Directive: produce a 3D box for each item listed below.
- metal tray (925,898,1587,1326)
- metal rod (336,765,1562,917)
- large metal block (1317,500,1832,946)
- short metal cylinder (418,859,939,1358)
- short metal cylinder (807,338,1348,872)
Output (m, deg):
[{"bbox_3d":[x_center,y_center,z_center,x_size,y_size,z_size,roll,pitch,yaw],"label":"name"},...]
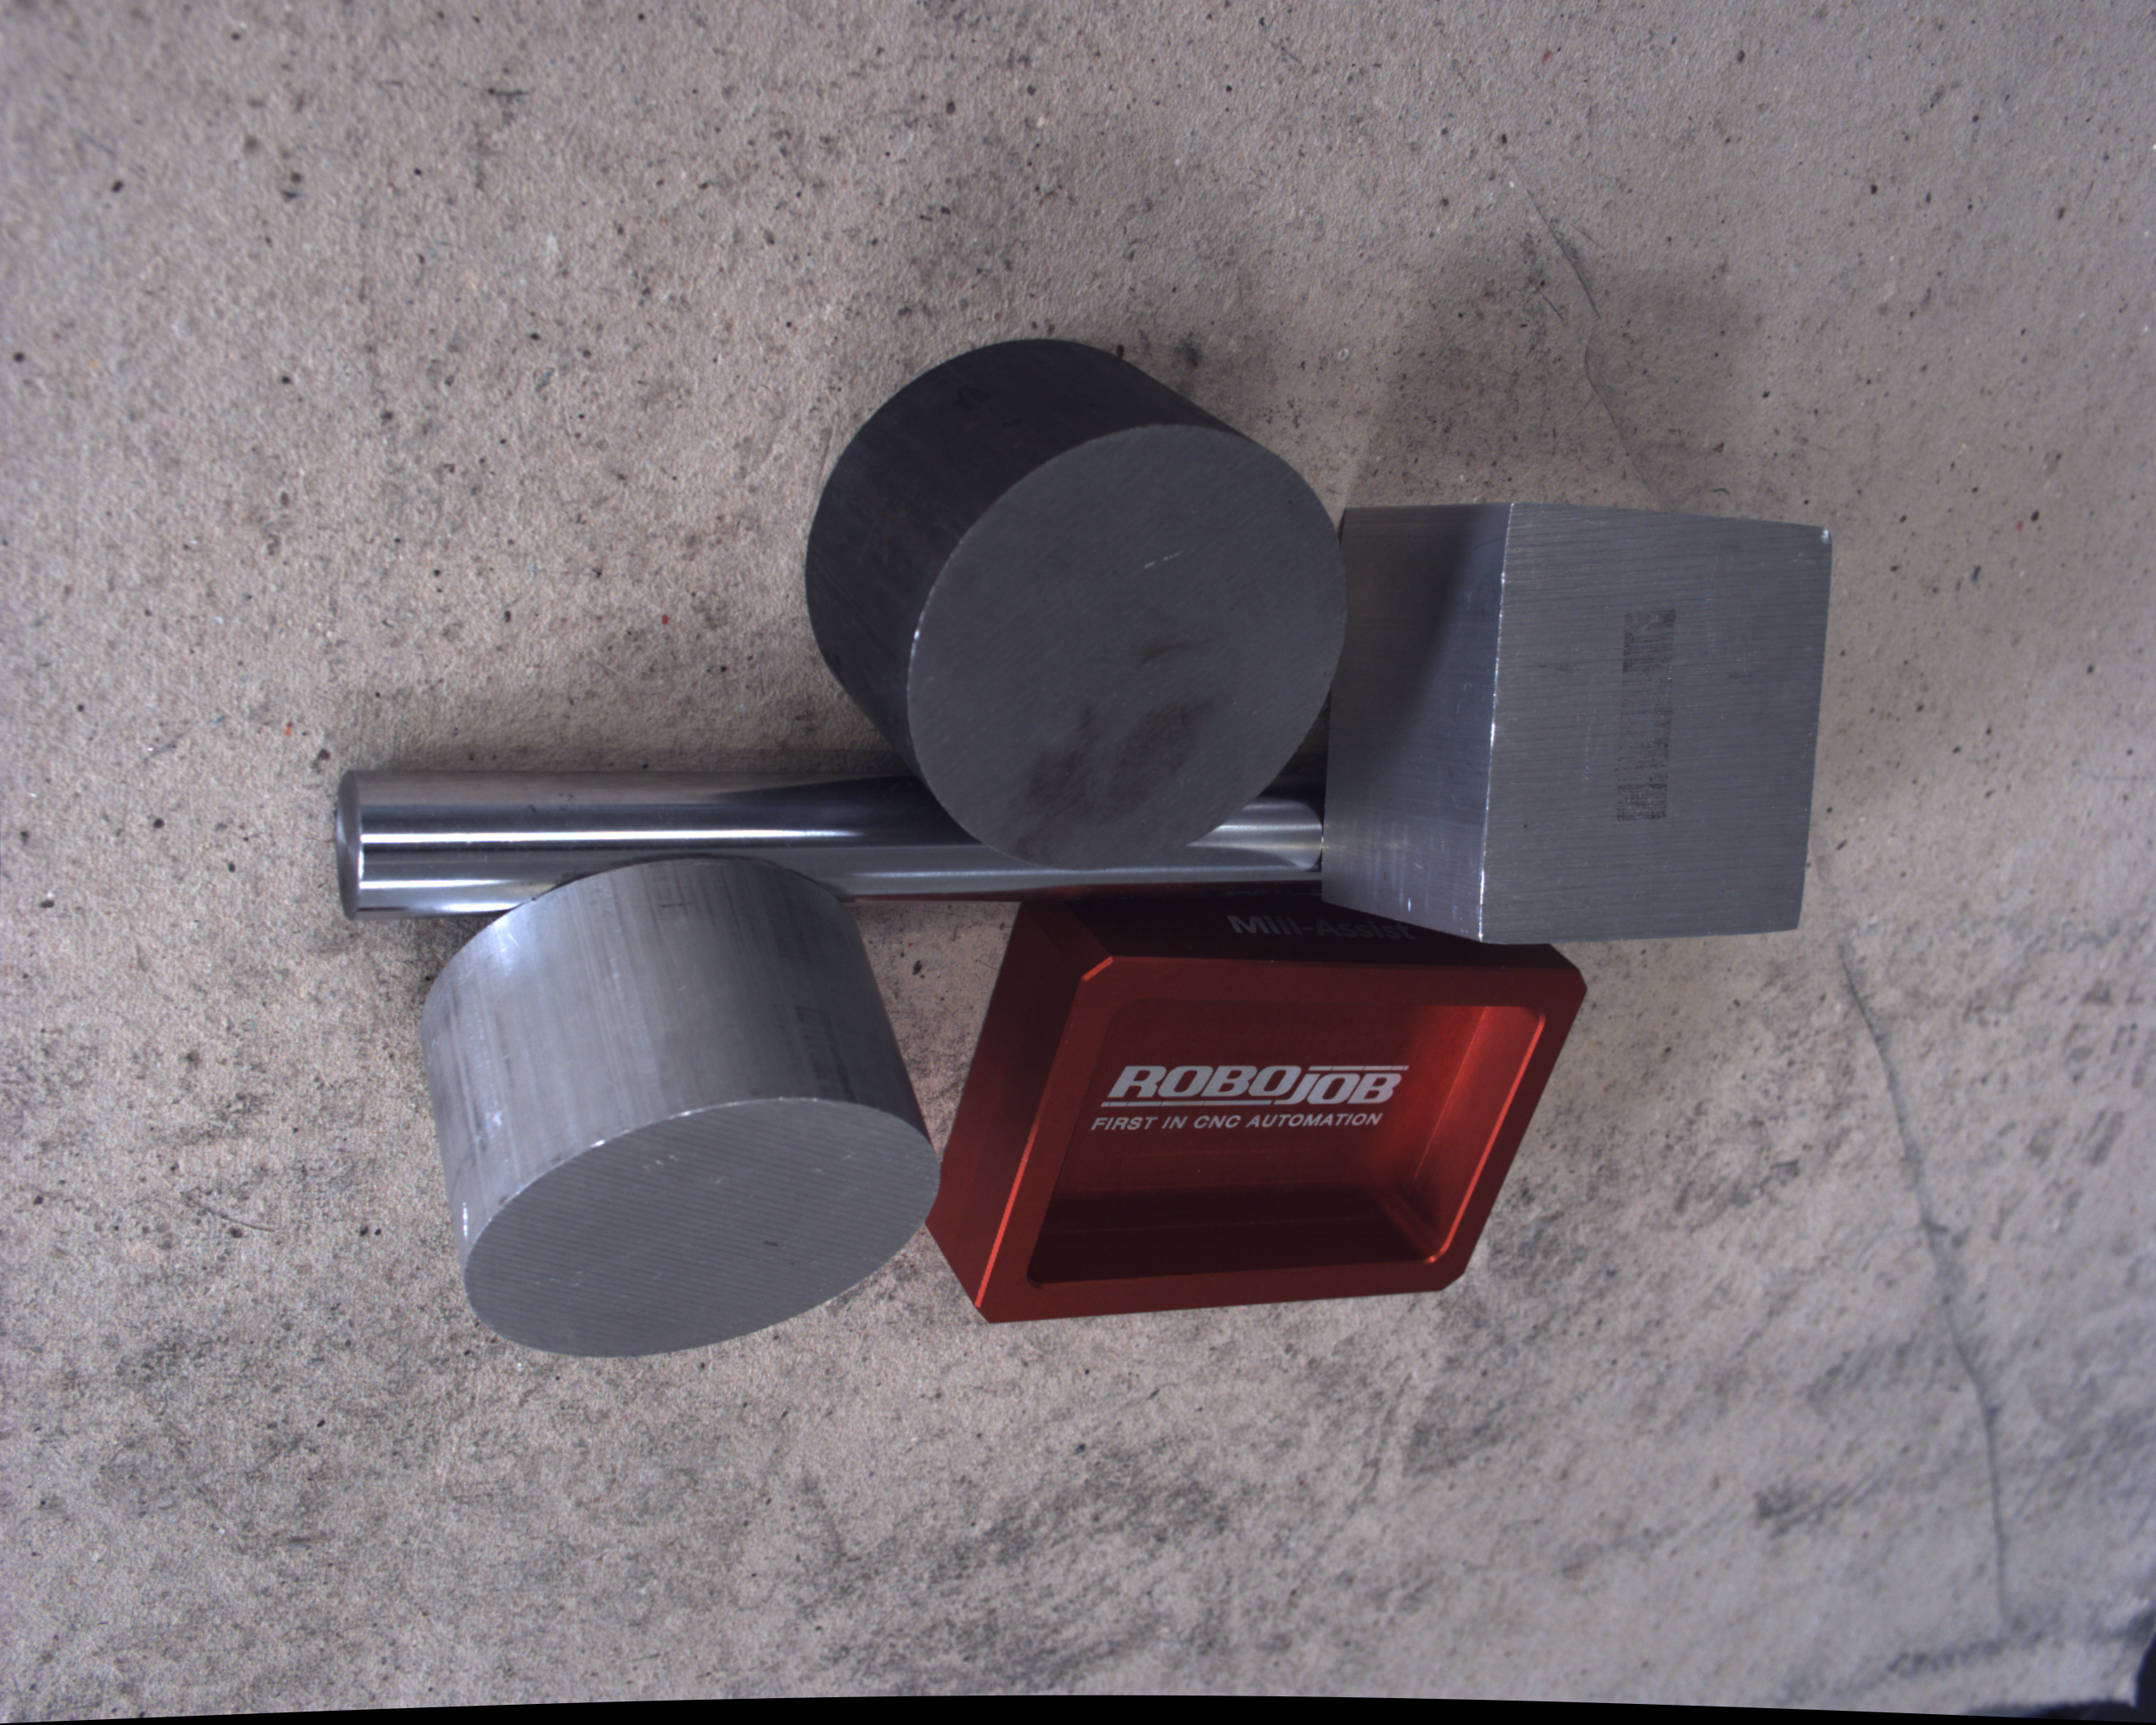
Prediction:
[{"bbox_3d":[0.040,0.054,0.459,0.131,0.030,0.089,3,117,-30],"label":"metal tray"},{"bbox_3d":[0.014,-0.006,0.414,0.303,0.025,0.025,-1,119,-28],"label":"metal rod"},{"bbox_3d":[0.097,-0.028,0.412,0.081,0.050,0.079,-1,98,-28],"label":"large metal block"},{"bbox_3d":[-0.070,0.044,0.365,0.081,0.050,0.080,-15,145,-11],"label":"short metal cylinder"},{"bbox_3d":[-0.001,-0.045,0.364,0.081,0.050,0.079,-14,124,-21],"label":"short metal cylinder"}]
